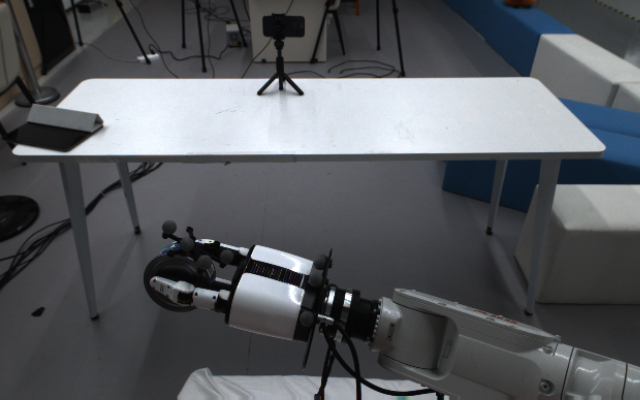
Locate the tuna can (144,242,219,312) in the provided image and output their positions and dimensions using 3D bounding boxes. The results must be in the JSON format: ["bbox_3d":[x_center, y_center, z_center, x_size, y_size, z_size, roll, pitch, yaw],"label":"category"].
[{"bbox_3d":[-0.179,0.101,0.627,0.085,0.085,0.034,4,20,3],"label":"tuna can"}]
